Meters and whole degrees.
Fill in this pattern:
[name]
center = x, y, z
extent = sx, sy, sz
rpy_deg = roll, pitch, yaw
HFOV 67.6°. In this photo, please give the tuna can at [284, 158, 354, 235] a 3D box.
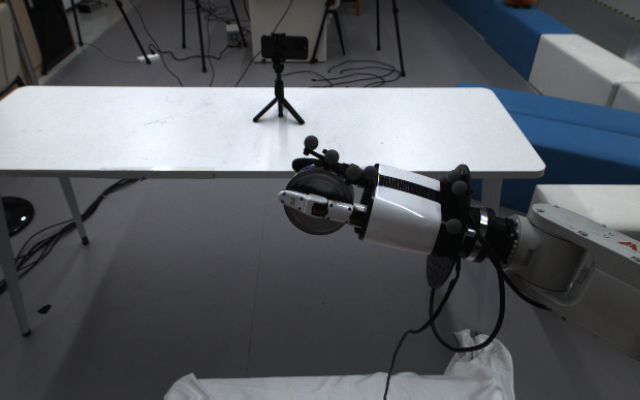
[tuna can]
center = 0.001, -0.003, 0.601
extent = 0.085, 0.085, 0.034
rpy_deg = 7, 16, 7
